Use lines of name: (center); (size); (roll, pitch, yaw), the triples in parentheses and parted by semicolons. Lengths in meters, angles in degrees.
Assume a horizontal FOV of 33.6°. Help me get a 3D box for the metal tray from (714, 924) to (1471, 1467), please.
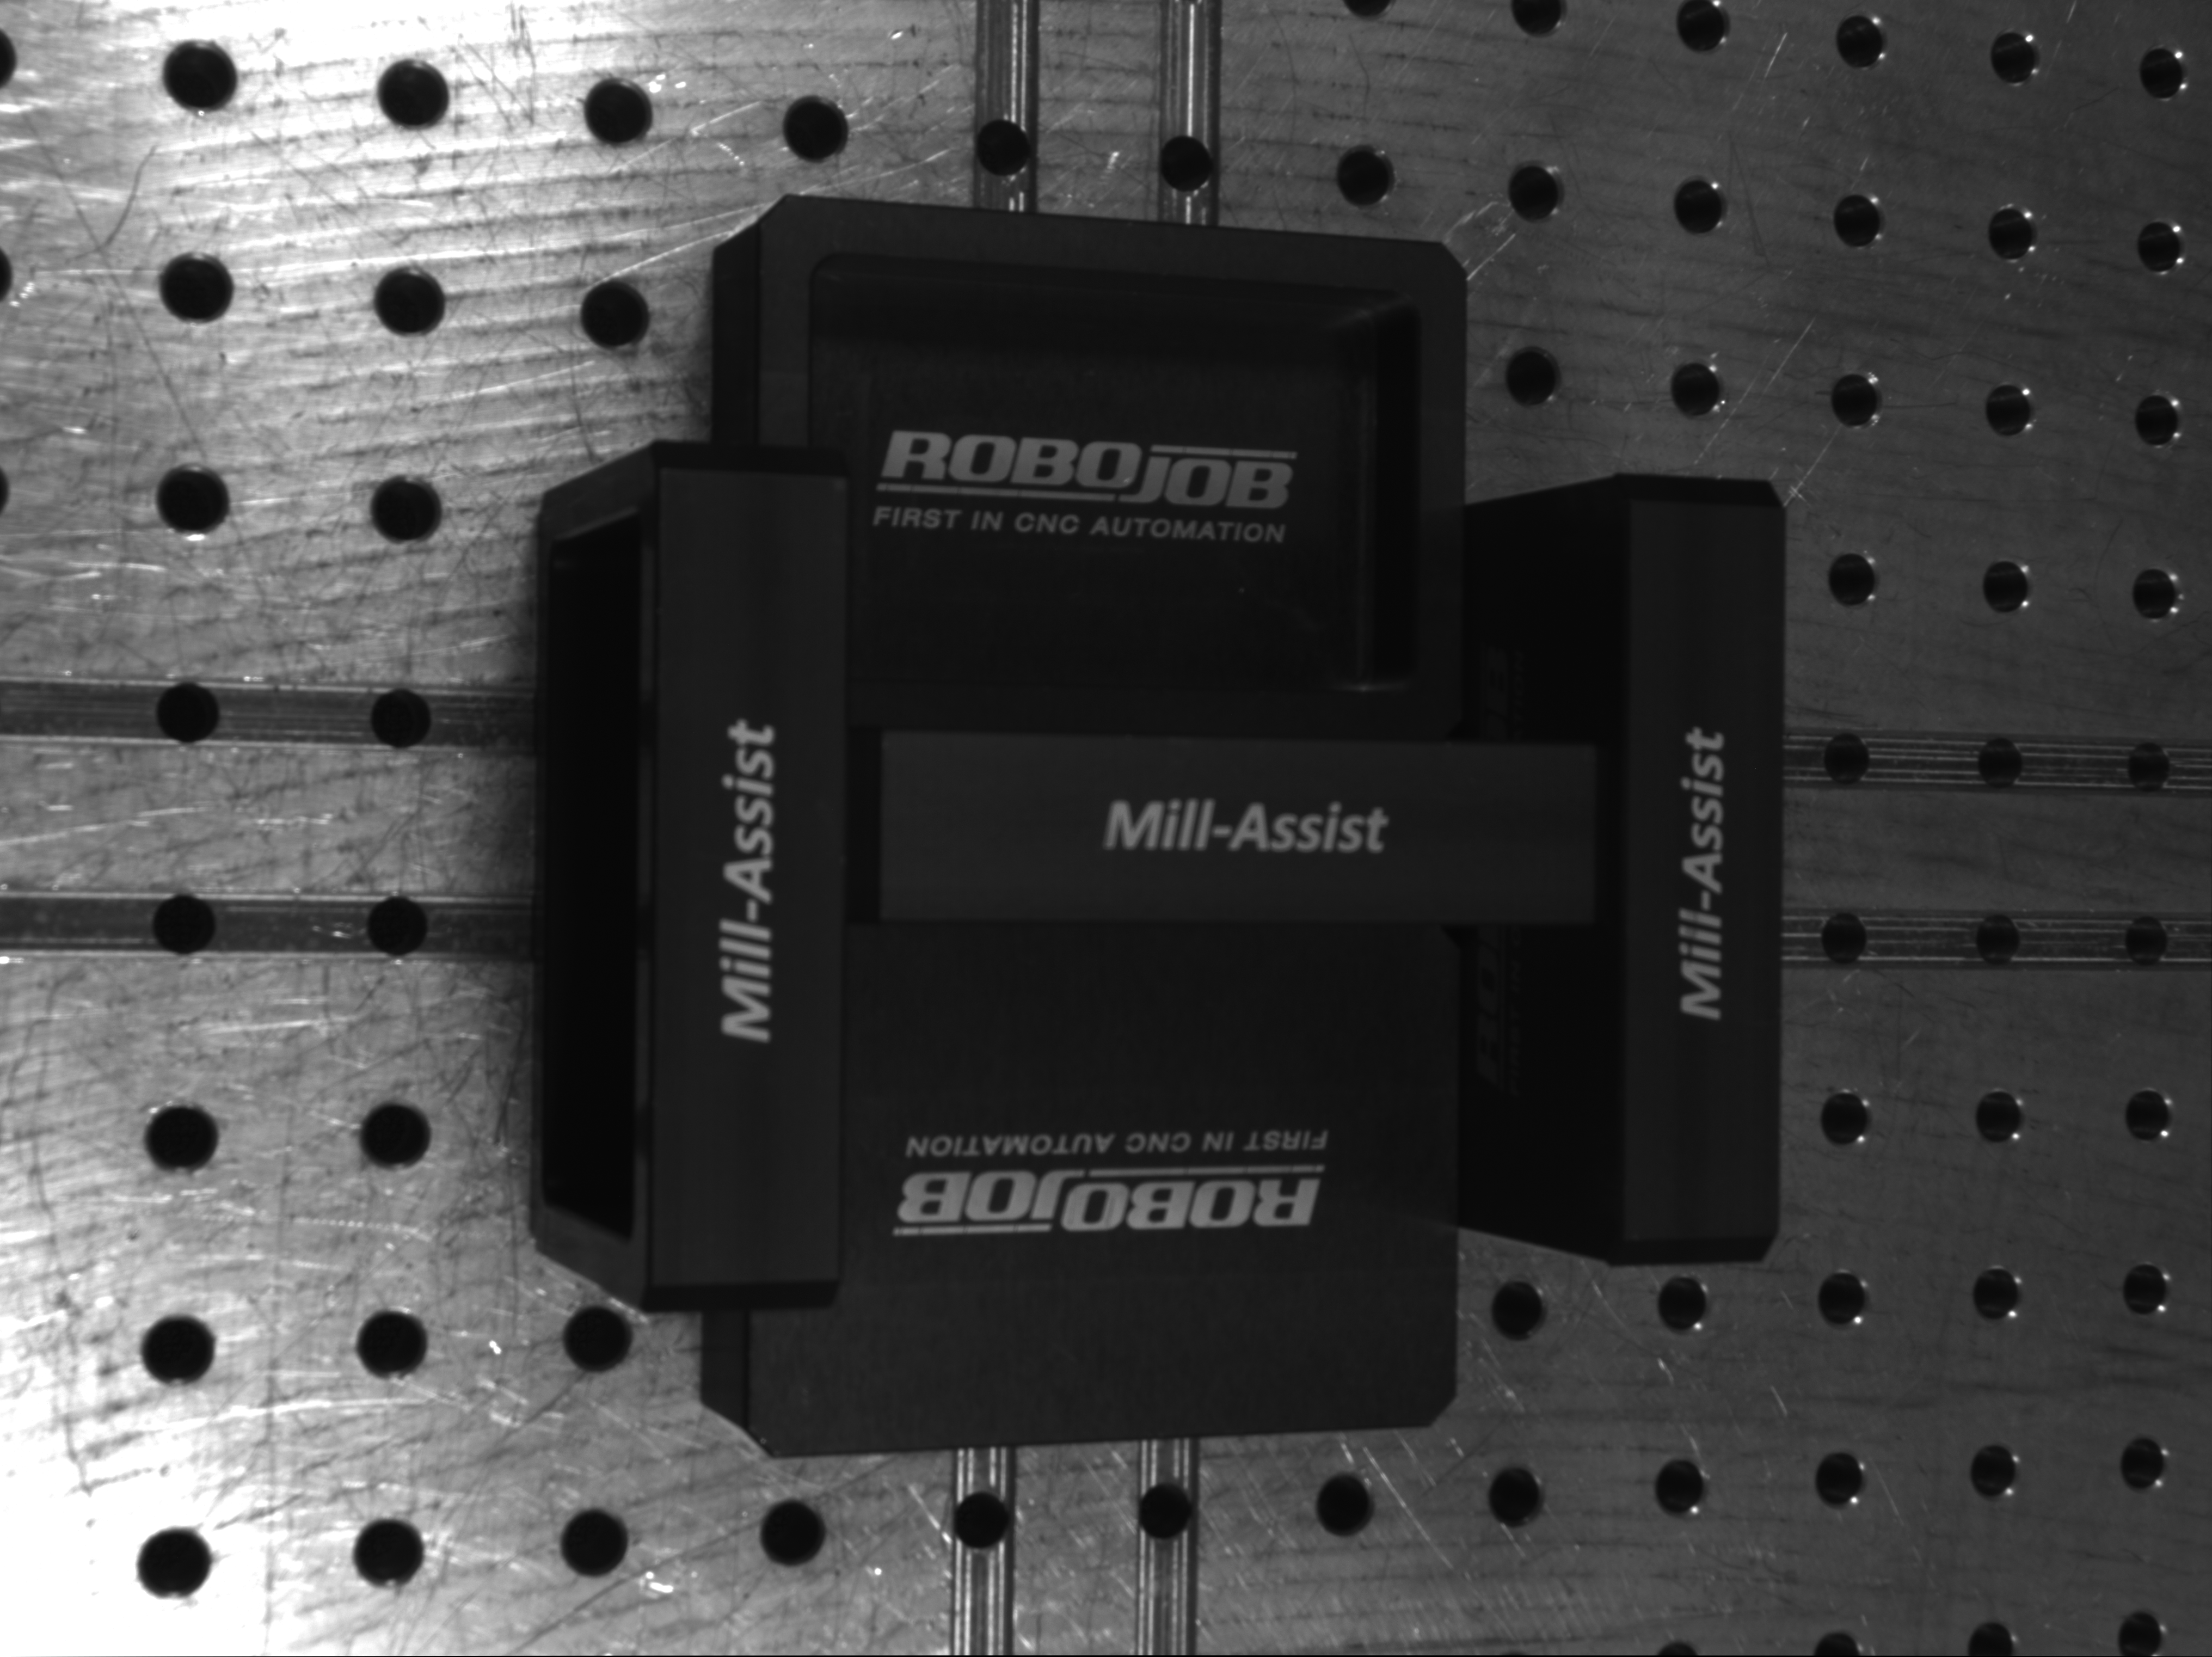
metal tray: (-0.001, 0.062, 0.641); (0.130, 0.030, 0.090); (1, 90, -20)

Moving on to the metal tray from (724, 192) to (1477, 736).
metal tray: (0.000, -0.060, 0.643); (0.130, 0.030, 0.090); (1, 90, -20)

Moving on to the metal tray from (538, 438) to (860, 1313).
metal tray: (-0.067, 0.007, 0.586); (0.030, 0.090, 0.130); (1, 90, -20)

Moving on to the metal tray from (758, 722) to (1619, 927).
metal tray: (0.009, 0.000, 0.613); (0.130, 0.090, 0.030); (1, 90, -20)

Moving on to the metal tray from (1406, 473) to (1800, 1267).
metal tray: (0.085, 0.007, 0.642); (0.030, 0.090, 0.130); (1, 90, -20)
